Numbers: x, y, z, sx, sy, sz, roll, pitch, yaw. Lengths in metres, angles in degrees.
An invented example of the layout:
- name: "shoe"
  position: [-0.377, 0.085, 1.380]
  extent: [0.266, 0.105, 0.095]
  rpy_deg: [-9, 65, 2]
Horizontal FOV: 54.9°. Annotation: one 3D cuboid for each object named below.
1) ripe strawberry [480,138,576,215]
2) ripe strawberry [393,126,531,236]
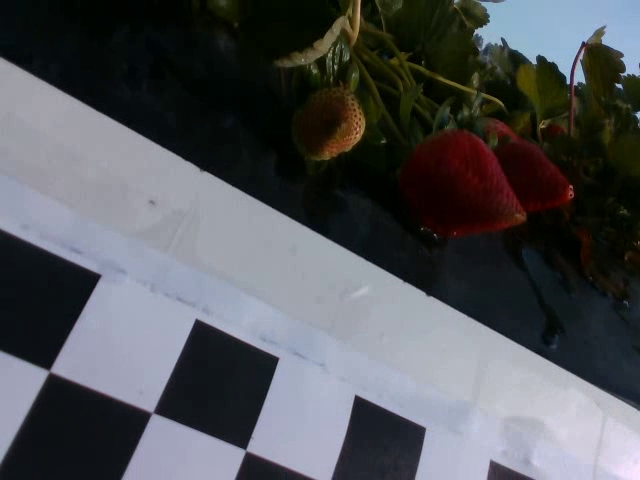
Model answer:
- name: "ripe strawberry"
  position: [0.110, -0.029, 0.328]
  extent: [0.055, 0.041, 0.045]
  rpy_deg: [24, 52, 39]
- name: "ripe strawberry"
  position: [0.063, -0.023, 0.257]
  extent: [0.050, 0.049, 0.065]
  rpy_deg: [-13, 27, -27]
